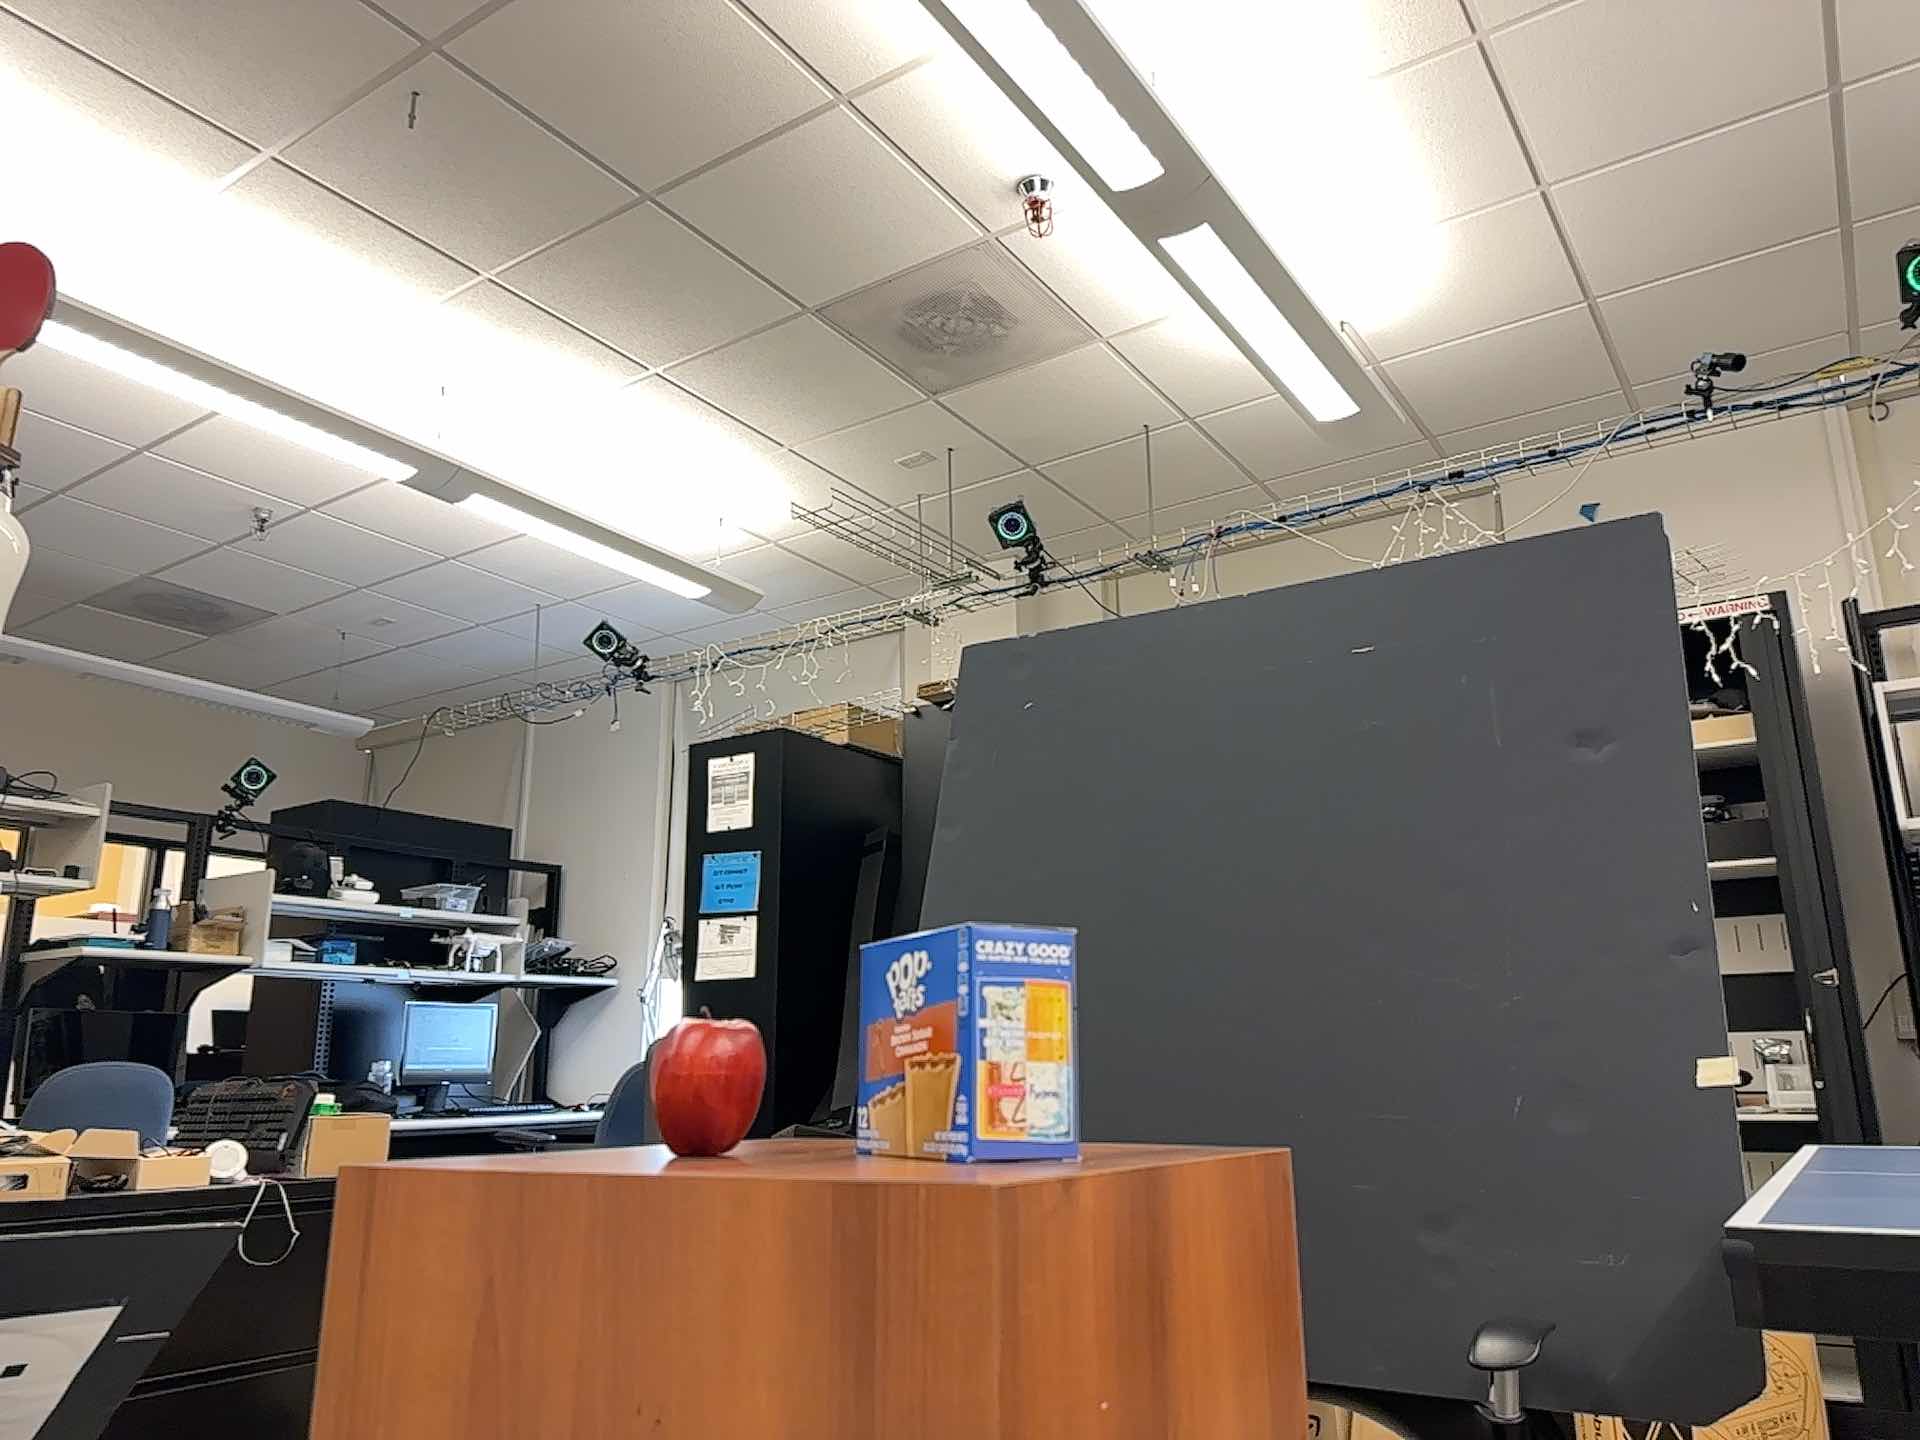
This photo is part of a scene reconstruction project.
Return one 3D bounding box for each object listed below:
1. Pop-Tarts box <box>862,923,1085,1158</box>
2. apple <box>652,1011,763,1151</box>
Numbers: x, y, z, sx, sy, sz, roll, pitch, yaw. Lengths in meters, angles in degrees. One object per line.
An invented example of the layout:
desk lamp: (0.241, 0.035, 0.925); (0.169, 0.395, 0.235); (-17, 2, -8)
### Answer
Pop-Tarts box: (0.003, 0.216, 0.896); (0.075, 0.135, 0.161); (8, -18, -26)
apple: (-0.178, 0.250, 0.934); (0.079, 0.093, 0.079); (0, -14, 0)
